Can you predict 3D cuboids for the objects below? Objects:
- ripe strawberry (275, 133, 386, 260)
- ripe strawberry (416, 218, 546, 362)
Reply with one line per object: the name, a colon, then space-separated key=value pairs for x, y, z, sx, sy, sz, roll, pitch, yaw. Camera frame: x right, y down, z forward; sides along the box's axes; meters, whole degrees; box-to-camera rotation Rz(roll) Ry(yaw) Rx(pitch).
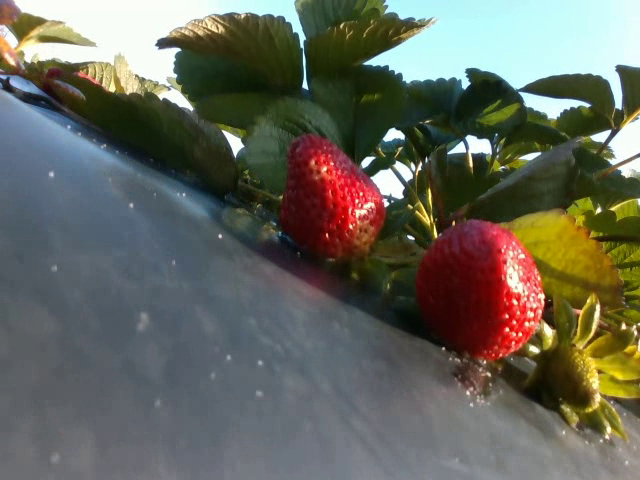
ripe strawberry: x=0.004 y=-0.014 z=0.218 sx=0.039 sy=0.054 sz=0.048 roll=-24 pitch=22 yaw=24
ripe strawberry: x=0.048 y=0.010 z=0.169 sx=0.039 sy=0.043 sz=0.053 roll=-39 pitch=-14 yaw=-8
